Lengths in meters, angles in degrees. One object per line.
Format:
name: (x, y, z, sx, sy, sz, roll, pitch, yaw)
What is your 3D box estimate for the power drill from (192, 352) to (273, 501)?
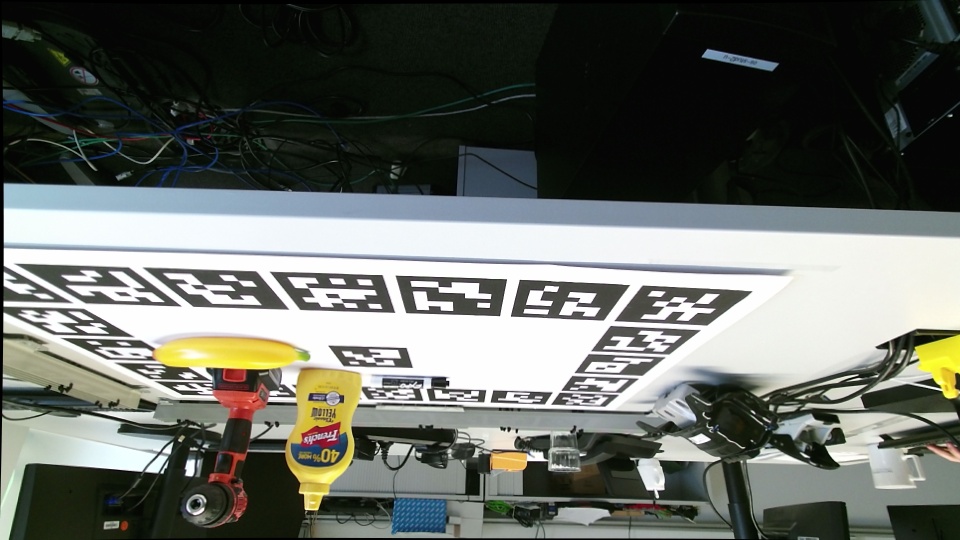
power drill: (-0.331, 0.210, 0.721, 0.057, 0.186, 0.185, 10, 152, -12)

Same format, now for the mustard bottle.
mustard bottle: (-0.228, 0.231, 0.789, 0.096, 0.190, 0.058, 8, 150, -11)

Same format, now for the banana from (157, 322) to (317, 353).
banana: (-0.315, 0.085, 0.691, 0.198, 0.038, 0.074, 5, 149, -10)

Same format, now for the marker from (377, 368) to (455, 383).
marker: (-0.100, 0.166, 0.843, 0.121, 0.019, 0.020, 3, 150, -3)
